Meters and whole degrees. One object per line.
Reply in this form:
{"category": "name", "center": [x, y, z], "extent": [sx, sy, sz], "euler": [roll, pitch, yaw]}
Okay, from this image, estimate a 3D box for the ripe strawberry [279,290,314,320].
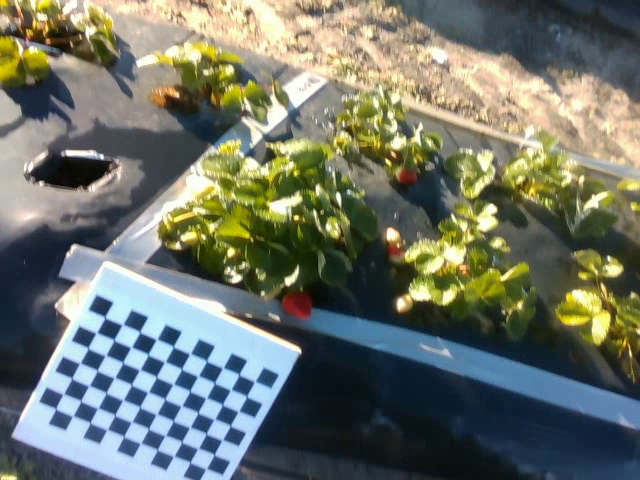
{"category": "ripe strawberry", "center": [-0.030, 0.095, 0.819], "extent": [0.045, 0.049, 0.064], "euler": [-39, 33, 0]}
